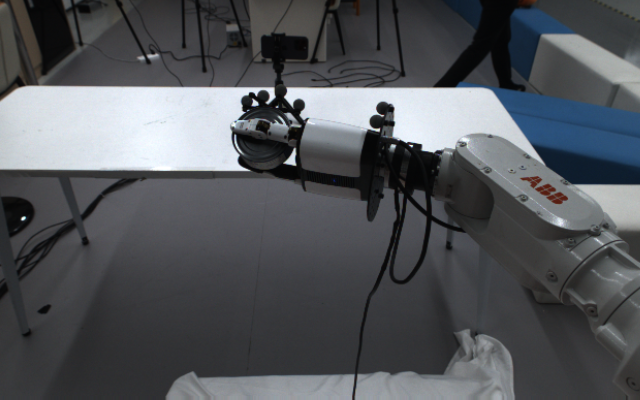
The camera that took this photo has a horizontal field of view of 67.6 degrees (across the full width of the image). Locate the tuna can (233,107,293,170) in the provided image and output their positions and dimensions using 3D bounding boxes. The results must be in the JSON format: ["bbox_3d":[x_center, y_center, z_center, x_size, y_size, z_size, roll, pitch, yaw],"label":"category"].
[{"bbox_3d":[-0.080,-0.088,0.688,0.085,0.034,0.085,-3,69,8],"label":"tuna can"}]
